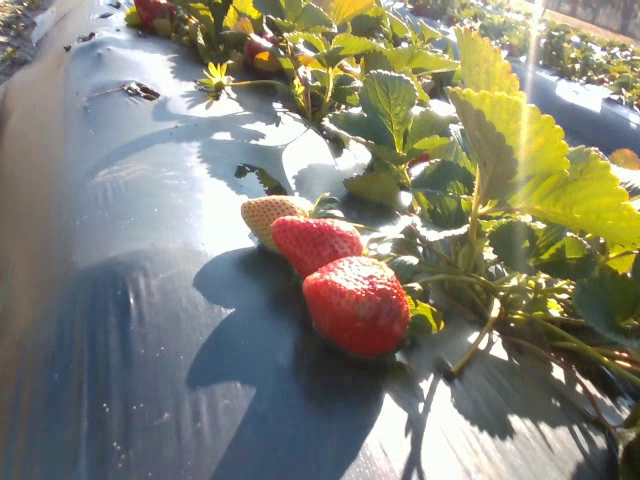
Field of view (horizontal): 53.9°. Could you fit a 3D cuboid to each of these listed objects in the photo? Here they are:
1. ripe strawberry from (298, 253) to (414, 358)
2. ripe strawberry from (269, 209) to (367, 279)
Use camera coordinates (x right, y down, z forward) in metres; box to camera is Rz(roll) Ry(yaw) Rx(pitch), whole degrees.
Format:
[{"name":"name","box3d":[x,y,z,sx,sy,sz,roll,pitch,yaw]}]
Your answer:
[{"name":"ripe strawberry","box3d":[0.014,0.027,0.273,0.056,0.051,0.067,3,-11,28]},{"name":"ripe strawberry","box3d":[0.000,0.003,0.319,0.061,0.050,0.043,26,-49,-14]}]
